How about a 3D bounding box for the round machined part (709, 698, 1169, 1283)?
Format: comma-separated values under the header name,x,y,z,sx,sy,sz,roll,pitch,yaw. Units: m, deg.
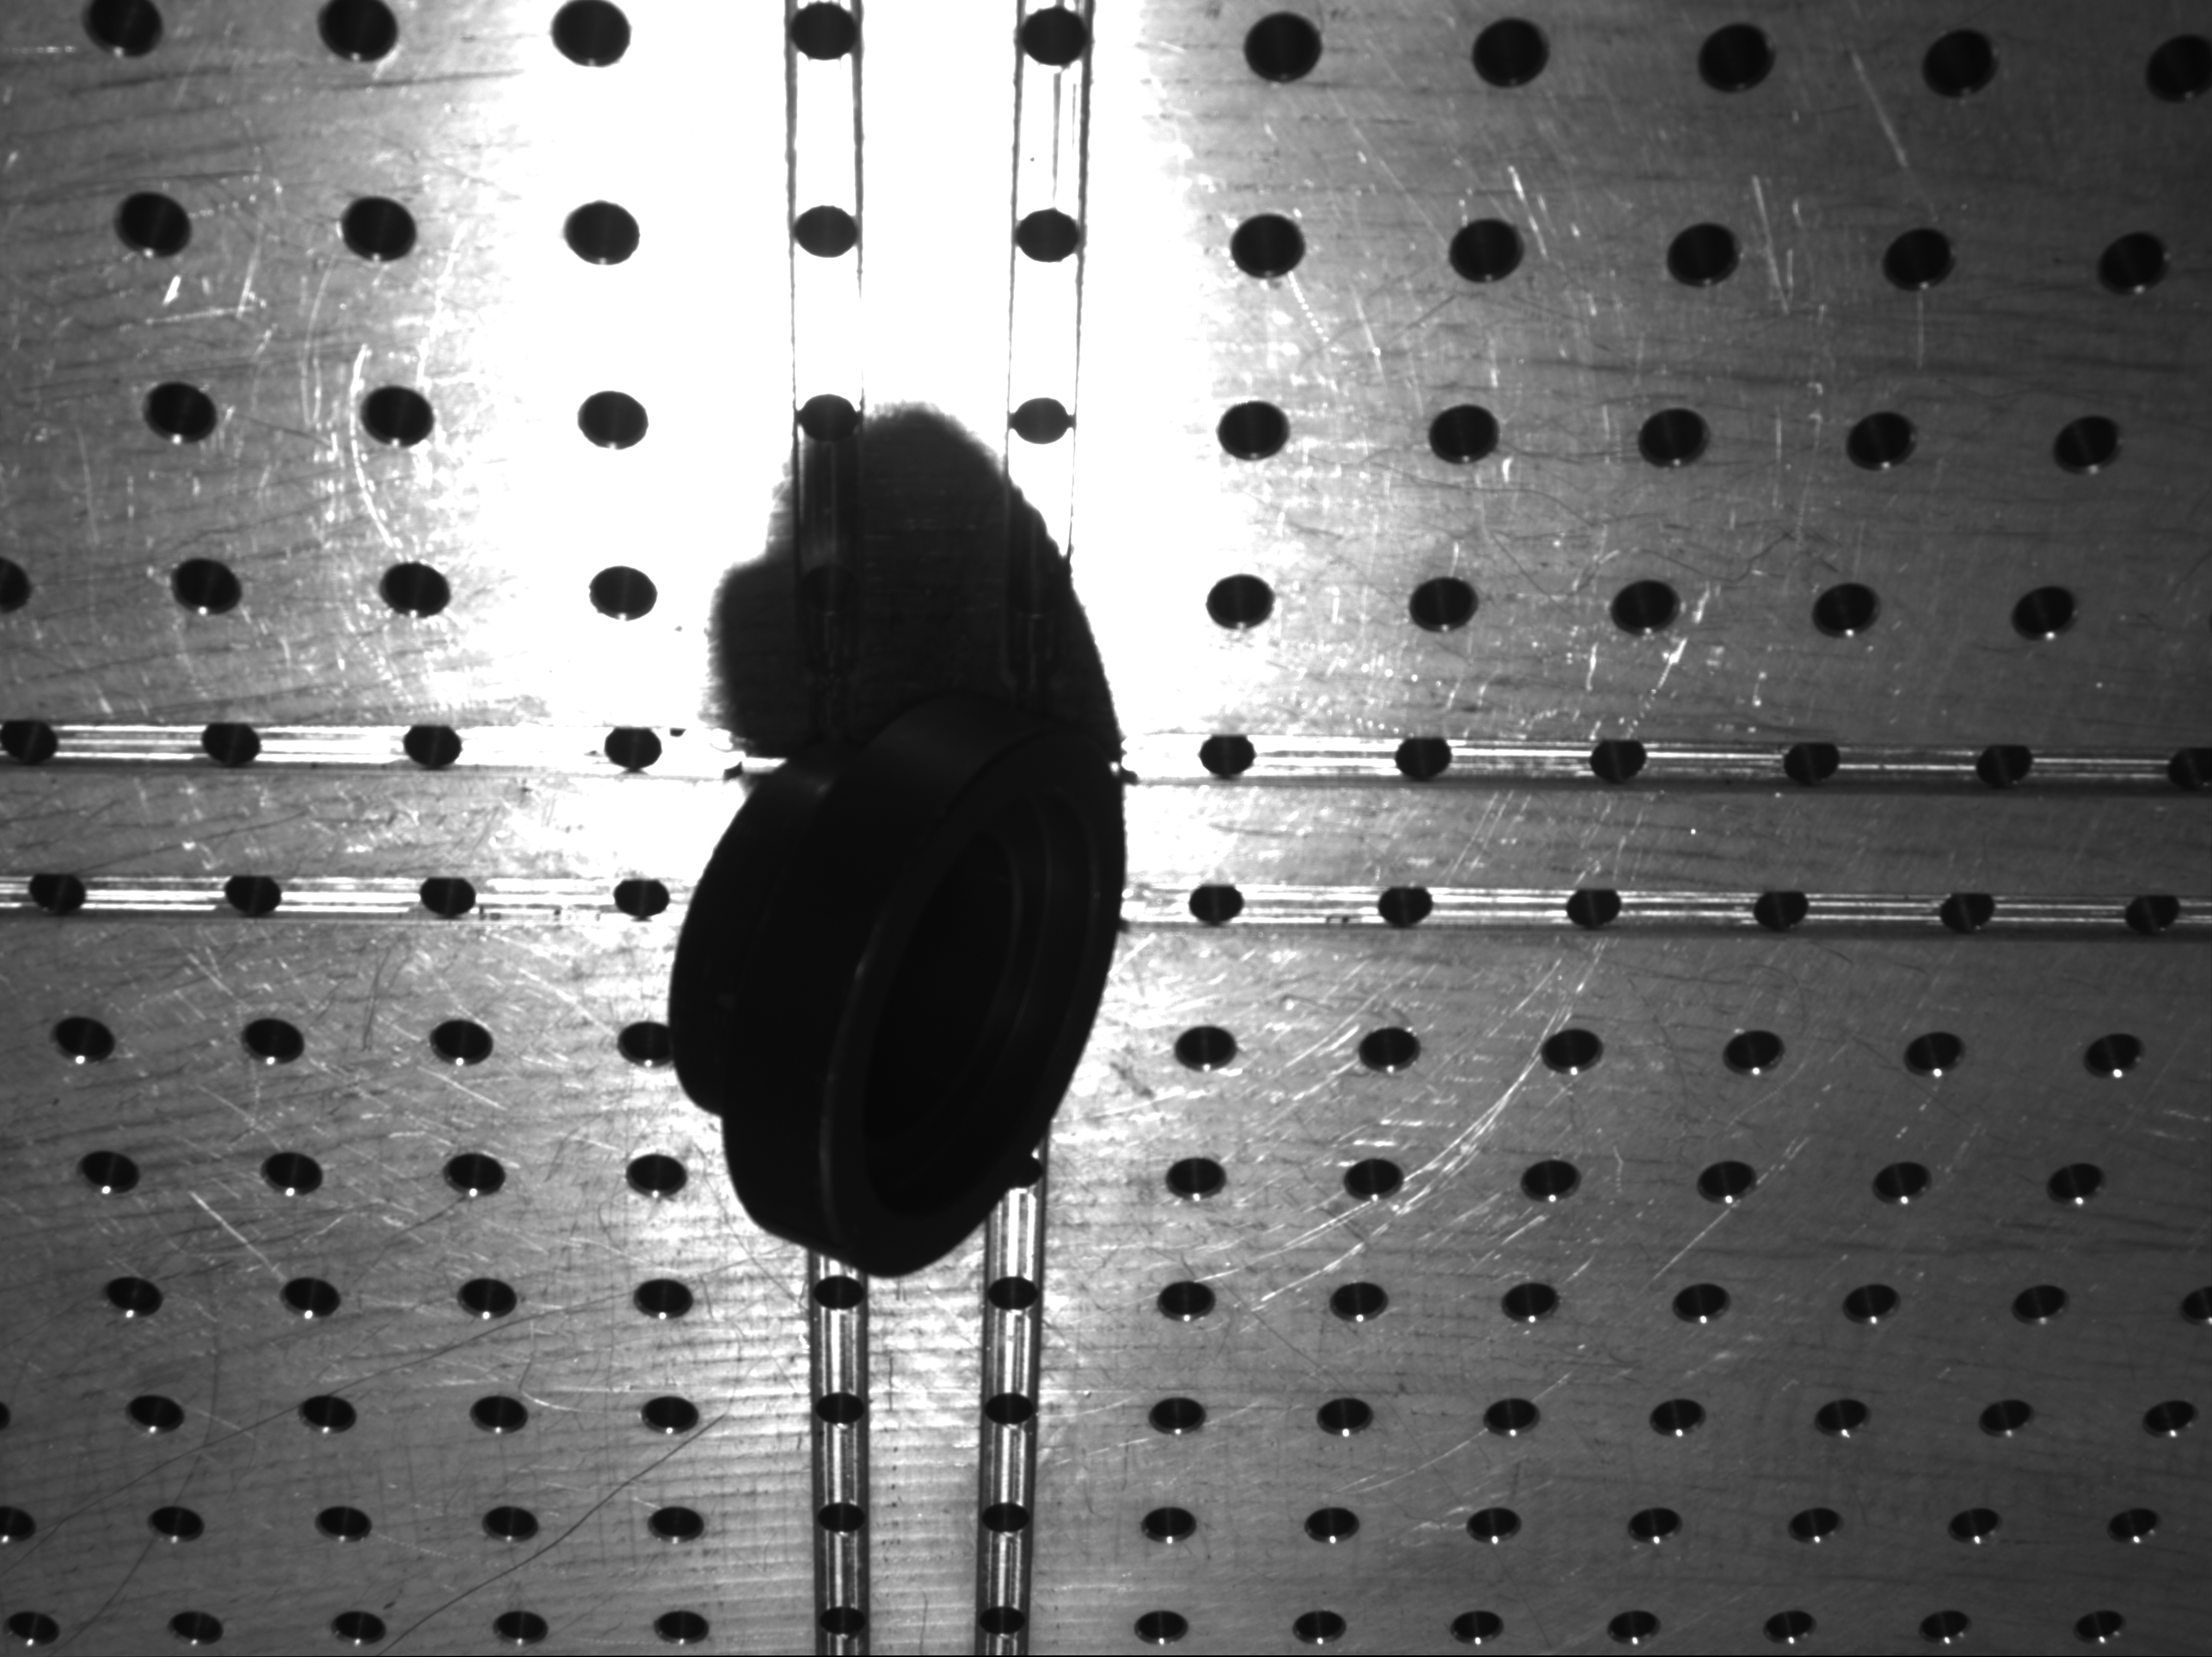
name,x,y,z,sx,sy,sz,roll,pitch,yaw
round machined part,-0.031,0.024,0.625,0.042,0.098,0.098,20,135,24
